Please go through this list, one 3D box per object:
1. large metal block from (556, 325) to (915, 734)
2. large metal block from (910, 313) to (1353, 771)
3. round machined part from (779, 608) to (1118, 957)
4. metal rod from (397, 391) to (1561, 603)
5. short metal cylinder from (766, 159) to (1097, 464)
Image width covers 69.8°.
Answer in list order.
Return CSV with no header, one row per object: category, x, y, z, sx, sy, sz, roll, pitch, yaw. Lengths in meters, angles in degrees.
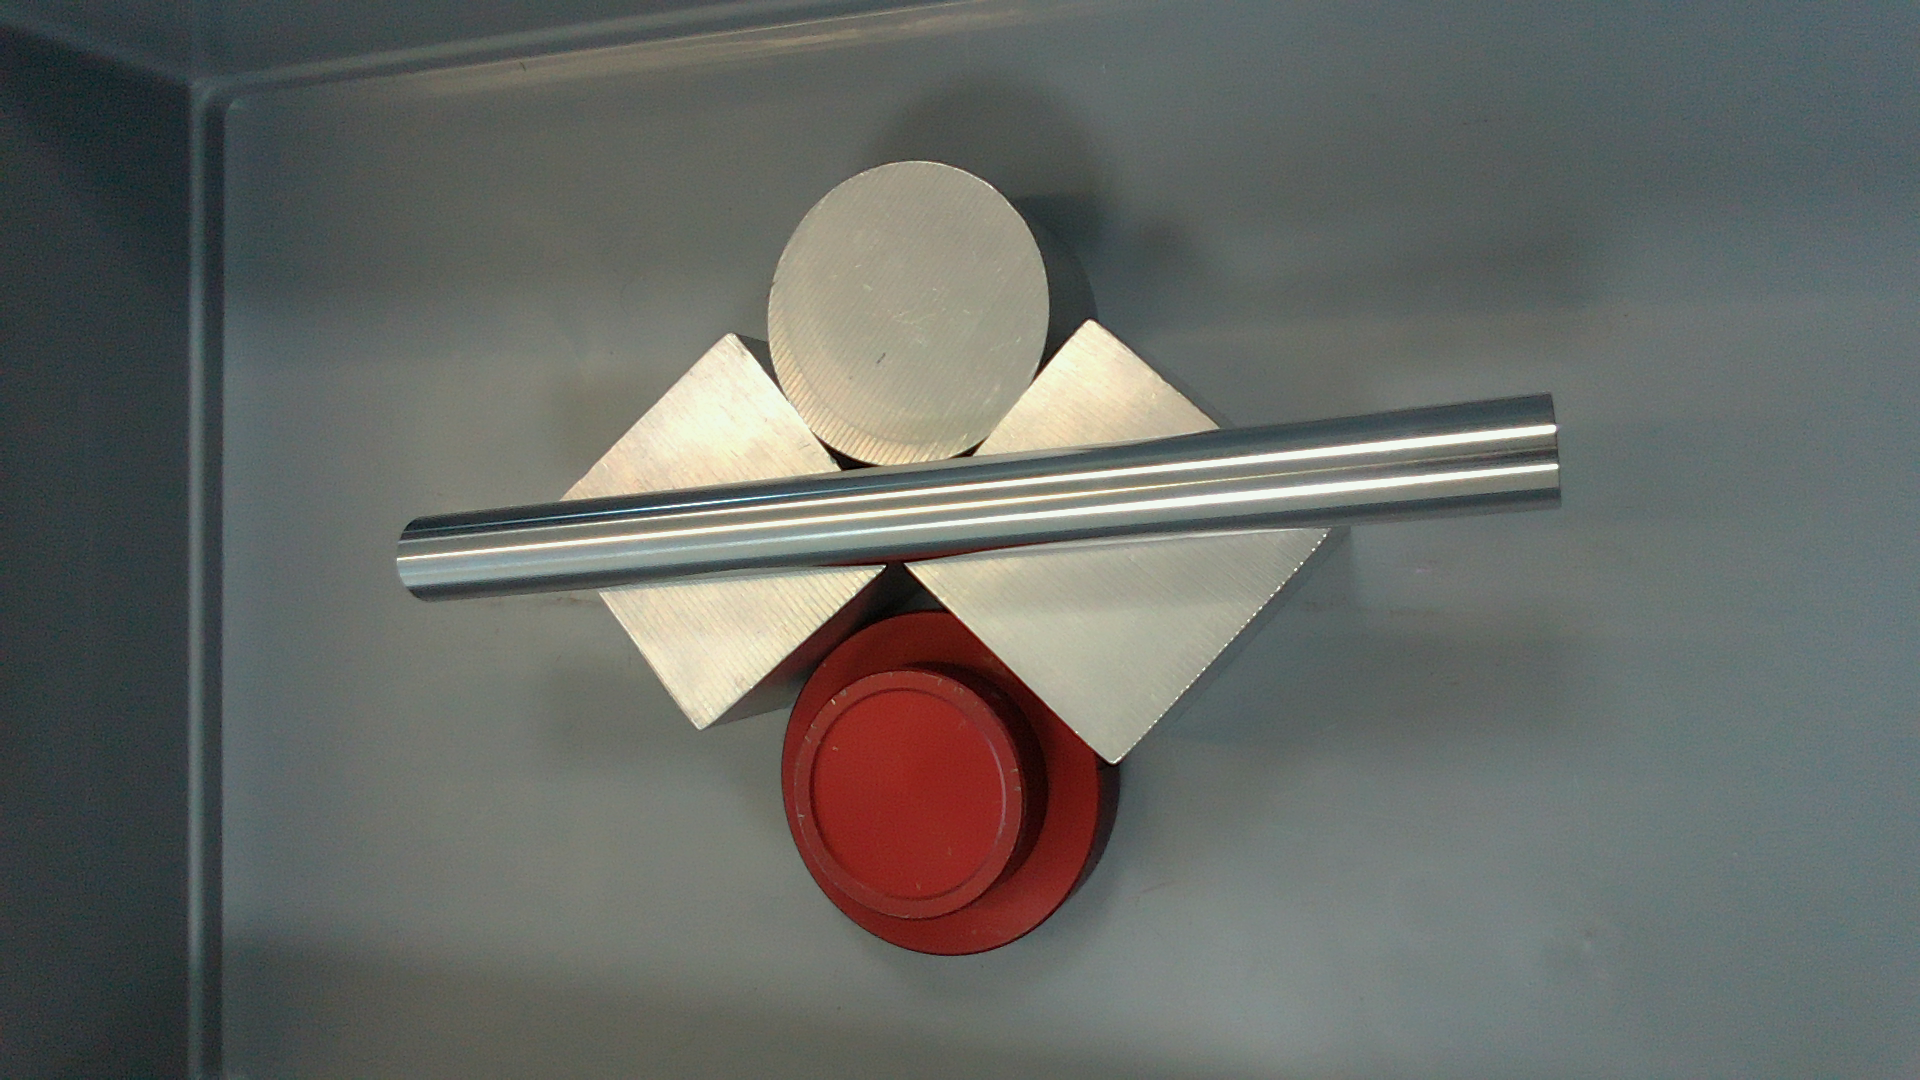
large metal block,-0.060,-0.003,0.403,0.080,0.050,0.080,-41,79,15
large metal block,0.044,0.000,0.362,0.080,0.050,0.080,44,105,15
round machined part,-0.008,0.069,0.388,0.098,0.042,0.098,0,90,20
metal rod,-0.013,-0.007,0.344,0.299,0.025,0.025,-5,88,20
short metal cylinder,-0.007,-0.060,0.383,0.080,0.050,0.080,0,90,20
